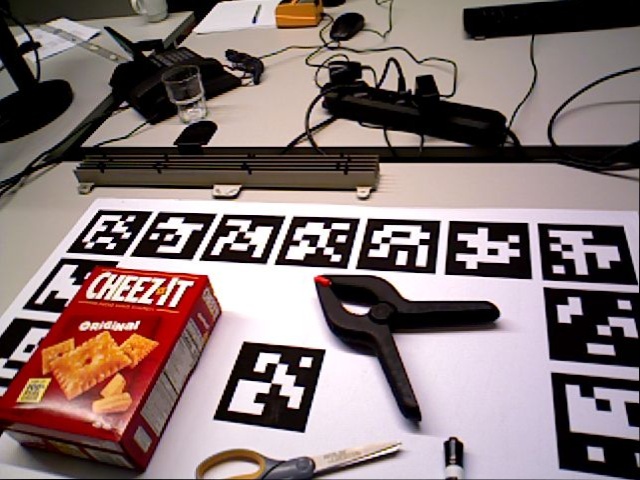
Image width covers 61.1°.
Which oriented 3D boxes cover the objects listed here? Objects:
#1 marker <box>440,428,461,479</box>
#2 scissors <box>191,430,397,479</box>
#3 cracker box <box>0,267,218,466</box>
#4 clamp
[{"bbox_3d":[0.111,0.216,0.461,0.020,0.020,0.118,0,42,13],"label":"marker"},{"bbox_3d":[-0.025,0.208,0.506,0.201,0.016,0.087,-16,40,-7],"label":"scissors"},{"bbox_3d":[-0.234,0.127,0.611,0.165,0.073,0.209,3,43,17],"label":"cracker box"},{"bbox_3d":[0.065,0.089,0.624,0.203,0.037,0.162,28,54,36],"label":"clamp"}]
